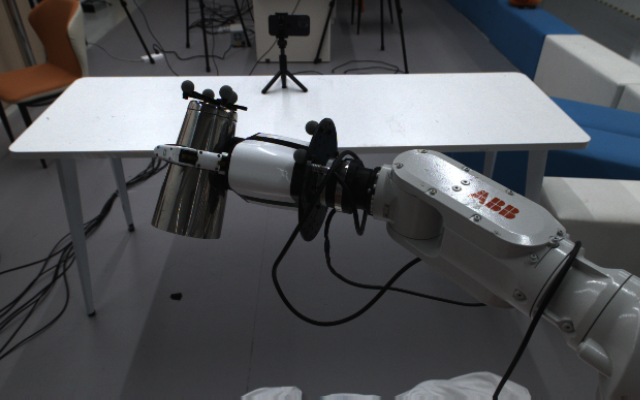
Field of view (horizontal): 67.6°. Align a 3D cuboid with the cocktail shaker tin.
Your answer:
[{"bbox_3d":[-0.162,-0.041,0.650,0.093,0.170,0.093,13,2,0],"label":"cocktail shaker tin"}]
